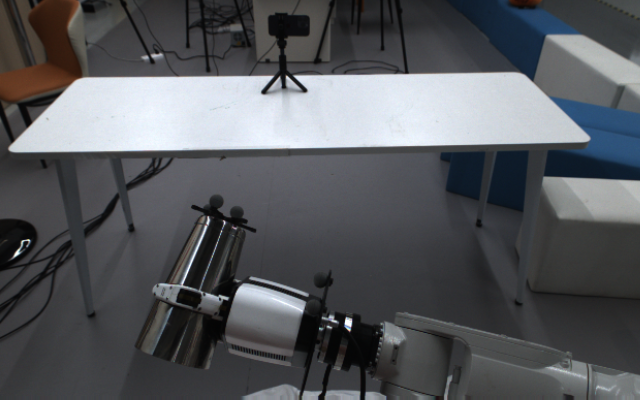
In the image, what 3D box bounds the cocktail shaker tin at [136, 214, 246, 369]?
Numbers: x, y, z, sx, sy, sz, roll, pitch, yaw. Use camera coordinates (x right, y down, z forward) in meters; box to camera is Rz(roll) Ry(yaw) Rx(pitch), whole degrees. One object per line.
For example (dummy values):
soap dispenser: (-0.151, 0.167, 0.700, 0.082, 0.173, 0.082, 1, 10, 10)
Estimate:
cocktail shaker tin: (-0.153, 0.111, 0.600, 0.093, 0.093, 0.170, 14, 74, 17)
